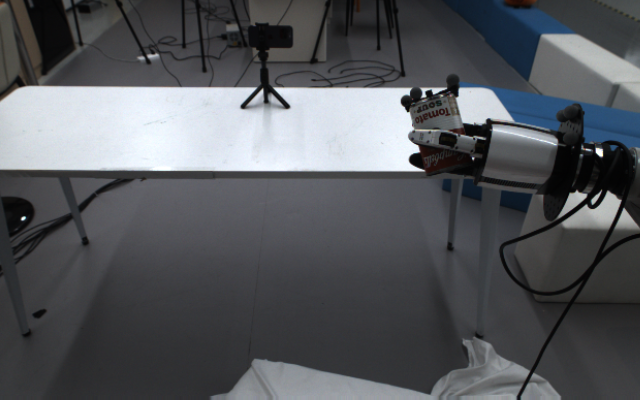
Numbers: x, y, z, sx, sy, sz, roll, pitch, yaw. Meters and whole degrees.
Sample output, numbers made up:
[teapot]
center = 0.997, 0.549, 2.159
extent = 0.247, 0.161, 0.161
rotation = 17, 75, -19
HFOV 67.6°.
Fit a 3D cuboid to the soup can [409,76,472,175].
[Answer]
[soup can]
center = 0.171, -0.091, 0.685
extent = 0.067, 0.101, 0.067
rotation = -14, -2, -1
